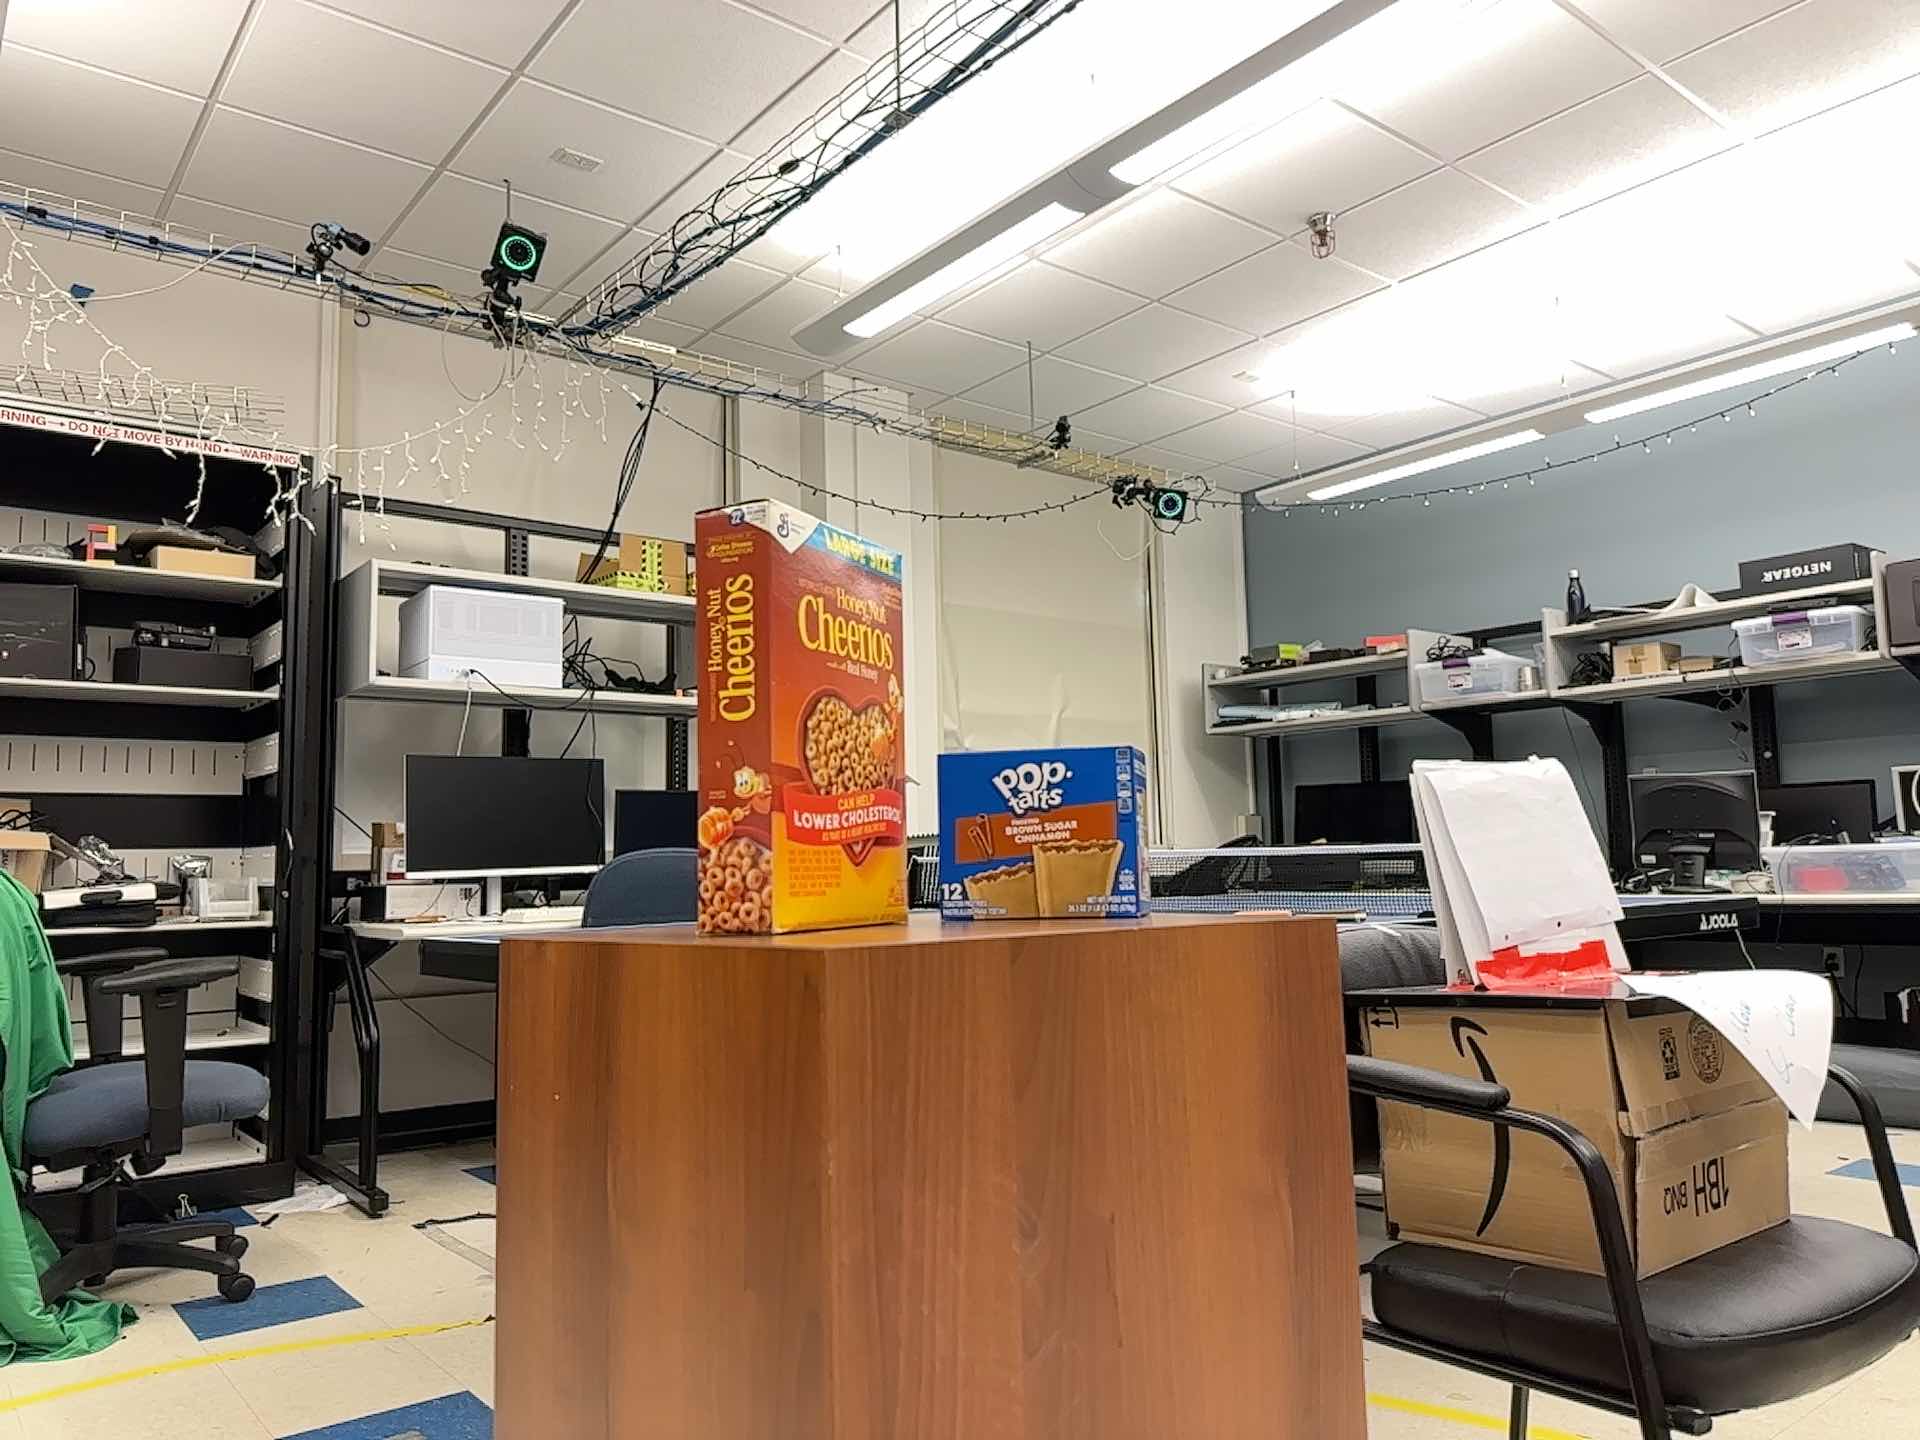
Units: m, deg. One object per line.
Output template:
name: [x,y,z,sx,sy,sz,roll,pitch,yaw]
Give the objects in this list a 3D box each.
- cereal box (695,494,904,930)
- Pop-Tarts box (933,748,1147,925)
cereal box: [-0.116,0.003,1.021,0.065,0.297,0.195,-3,-8,22]
Pop-Tarts box: [0.067,0.098,1.122,0.161,0.135,0.075,-2,-9,13]
